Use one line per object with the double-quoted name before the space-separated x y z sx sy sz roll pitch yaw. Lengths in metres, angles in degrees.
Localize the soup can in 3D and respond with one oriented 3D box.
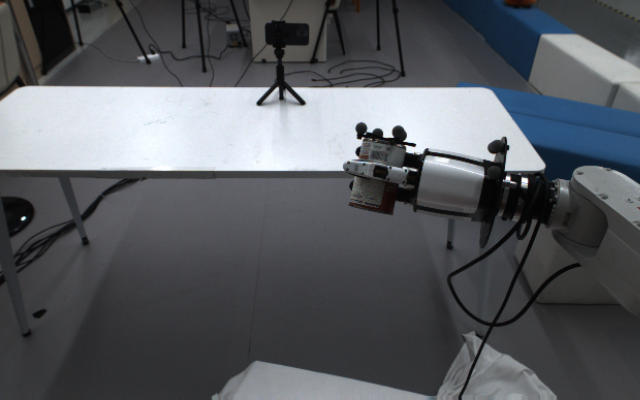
"soup can" 0.086 -0.034 0.715 0.067 0.101 0.067 12 2 0
